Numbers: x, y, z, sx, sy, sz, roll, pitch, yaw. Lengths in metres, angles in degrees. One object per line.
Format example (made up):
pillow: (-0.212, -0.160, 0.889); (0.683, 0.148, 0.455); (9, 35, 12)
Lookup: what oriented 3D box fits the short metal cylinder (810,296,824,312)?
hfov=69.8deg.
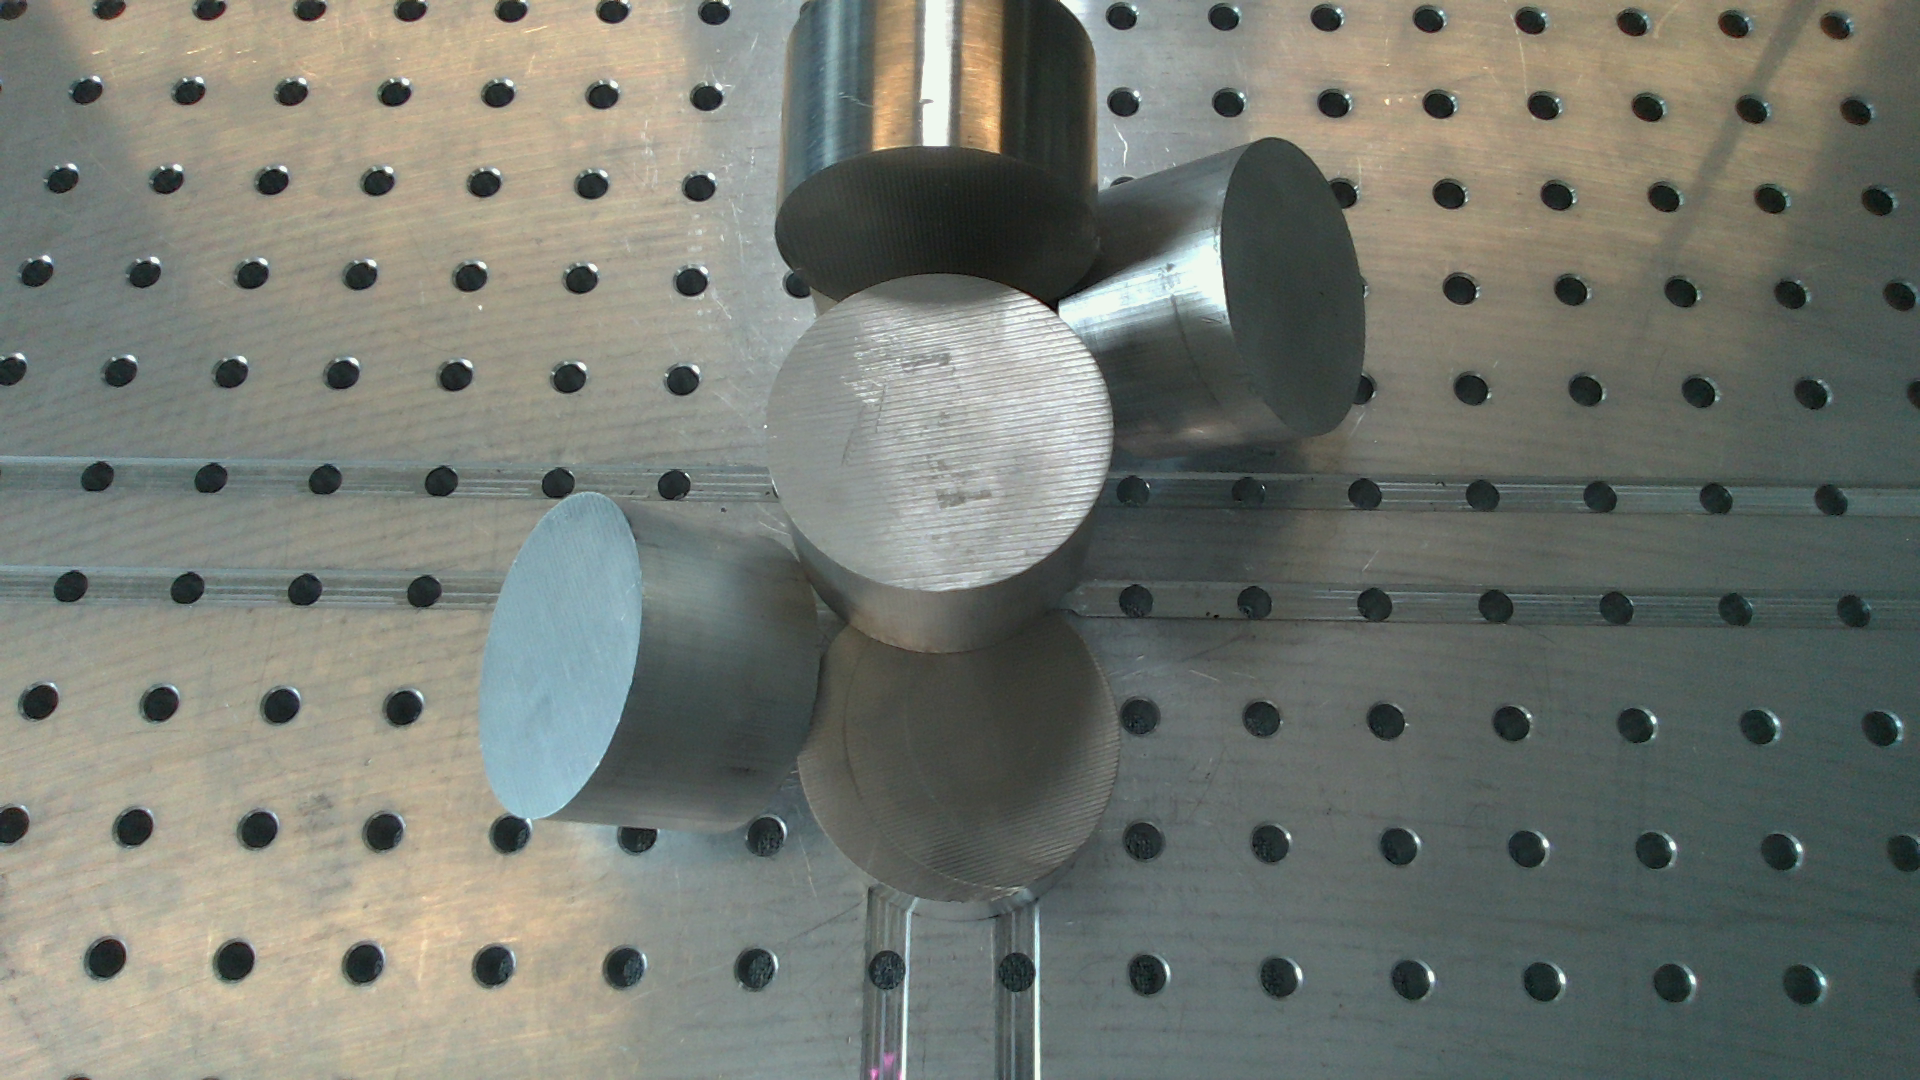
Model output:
short metal cylinder: (-0.003, -0.071, 0.410); (0.080, 0.050, 0.080); (0, 70, 0)

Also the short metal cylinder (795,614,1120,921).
short metal cylinder: (-0.001, 0.057, 0.362); (0.080, 0.050, 0.080); (0, 71, 0)

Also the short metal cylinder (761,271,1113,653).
short metal cylinder: (-0.005, -0.018, 0.336); (0.080, 0.050, 0.080); (0, 70, 0)

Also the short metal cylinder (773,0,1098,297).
short metal cylinder: (-0.006, -0.098, 0.349); (0.080, 0.080, 0.050); (0, 70, 0)

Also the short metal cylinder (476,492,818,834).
short metal cylinder: (-0.081, 0.033, 0.350); (0.050, 0.080, 0.080); (16, 63, -41)

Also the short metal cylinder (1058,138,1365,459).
short metal cylinder: (0.072, -0.065, 0.385); (0.050, 0.080, 0.080); (-7, 63, 41)
